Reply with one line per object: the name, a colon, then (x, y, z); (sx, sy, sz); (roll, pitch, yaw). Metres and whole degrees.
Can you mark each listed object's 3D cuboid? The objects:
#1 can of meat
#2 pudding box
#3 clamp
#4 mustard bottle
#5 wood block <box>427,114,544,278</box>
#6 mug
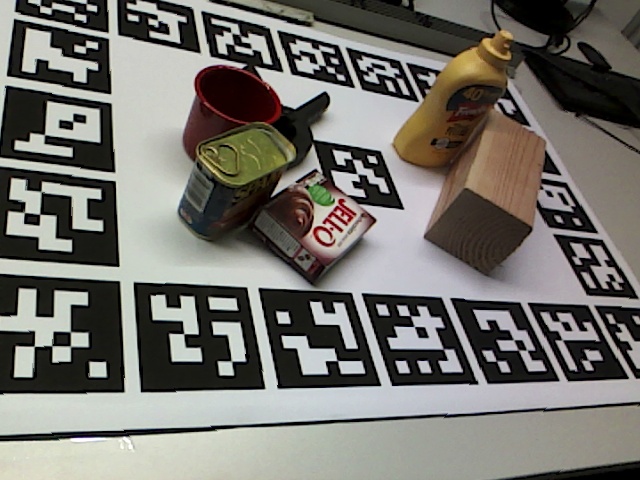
can of meat: (-0.082, -0.054, 0.595); (0.058, 0.084, 0.101); (49, 45, 14)
pudding box: (-0.002, -0.014, 0.646); (0.090, 0.039, 0.113); (41, 42, 7)
clamp: (-0.047, -0.145, 0.744); (0.121, 0.036, 0.165); (21, 47, -15)
mustard bottle: (0.175, -0.181, 0.785); (0.095, 0.192, 0.059); (0, 54, -30)
wood block: (0.213, -0.063, 0.783); (0.090, 0.091, 0.206); (31, 41, 0)
mug: (-0.108, -0.122, 0.681); (0.093, 0.081, 0.117); (22, 46, -12)
